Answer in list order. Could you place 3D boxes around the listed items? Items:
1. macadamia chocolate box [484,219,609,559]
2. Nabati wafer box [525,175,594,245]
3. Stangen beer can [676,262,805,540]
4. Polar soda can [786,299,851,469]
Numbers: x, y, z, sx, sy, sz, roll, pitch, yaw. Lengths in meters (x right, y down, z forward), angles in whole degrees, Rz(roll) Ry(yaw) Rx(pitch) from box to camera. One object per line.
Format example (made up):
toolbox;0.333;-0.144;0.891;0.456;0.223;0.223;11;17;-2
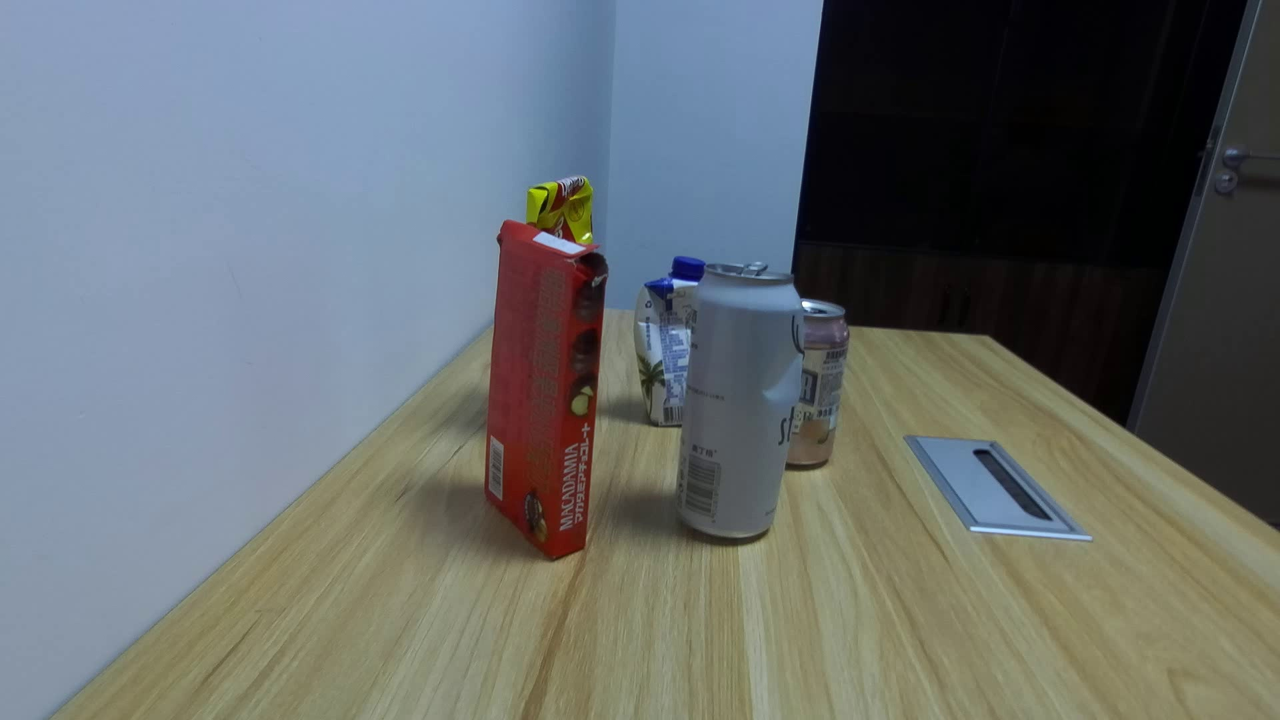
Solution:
macadamia chocolate box;-0.062;0.015;0.431;0.027;0.187;0.102;-6;19;-37
Nabati wafer box;-0.066;-0.045;0.585;0.042;0.205;0.113;3;18;4
Stangen beer can;0.062;0.025;0.445;0.070;0.173;0.070;3;16;-4
Polar soda can;0.127;0.019;0.562;0.067;0.125;0.067;4;16;-1
